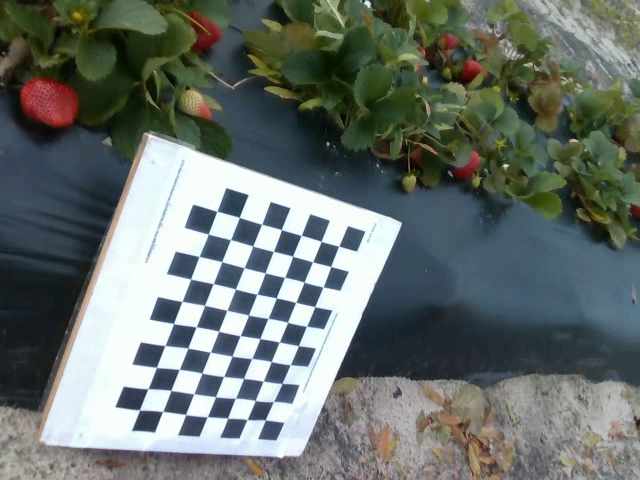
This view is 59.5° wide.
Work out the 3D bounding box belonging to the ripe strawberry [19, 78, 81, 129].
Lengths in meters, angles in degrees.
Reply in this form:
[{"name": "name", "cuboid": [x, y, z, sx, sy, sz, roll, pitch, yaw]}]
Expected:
[{"name": "ripe strawberry", "cuboid": [-0.178, -0.089, 0.357, 0.037, 0.046, 0.037, -27, -23, -10]}]
